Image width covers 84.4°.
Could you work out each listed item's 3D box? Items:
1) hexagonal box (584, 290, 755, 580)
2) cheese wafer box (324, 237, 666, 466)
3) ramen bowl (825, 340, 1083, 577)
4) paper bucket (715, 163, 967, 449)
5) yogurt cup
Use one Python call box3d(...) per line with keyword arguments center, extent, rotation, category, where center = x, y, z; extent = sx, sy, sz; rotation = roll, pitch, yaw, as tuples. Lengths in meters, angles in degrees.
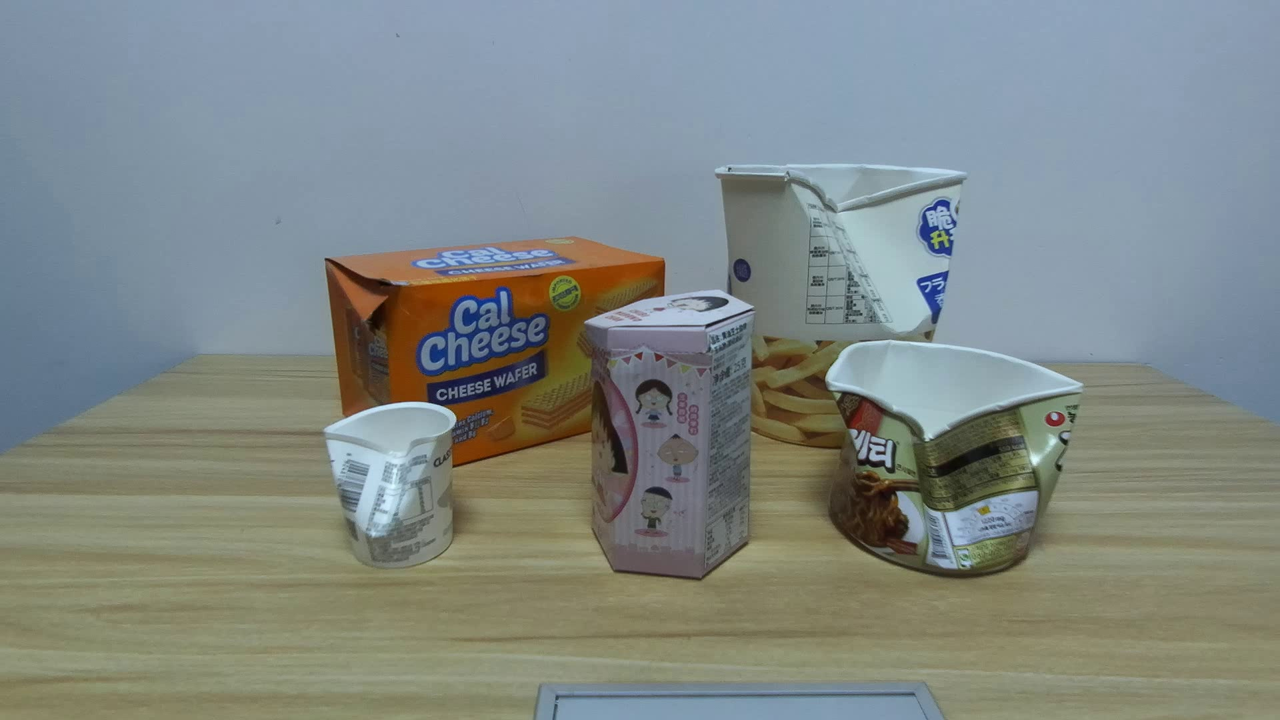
box3d(center=(0.018, 0.036, 0.379), extent=(0.085, 0.135, 0.092), rotation=(-6, 19, -18), category="hexagonal box")
box3d(center=(-0.110, -0.019, 0.551), extent=(0.228, 0.137, 0.149), rotation=(-11, 21, -34), category="cheese wafer box")
box3d(center=(0.173, 0.049, 0.411), extent=(0.137, 0.098, 0.137), rotation=(2, 16, 0), category="ramen bowl")
box3d(center=(0.139, -0.046, 0.546), extent=(0.168, 0.202, 0.163), rotation=(9, 21, 32), category="paper bucket")
box3d(center=(-0.130, 0.067, 0.383), extent=(0.067, 0.070, 0.067), rotation=(0, 18, 0), category="yogurt cup")
